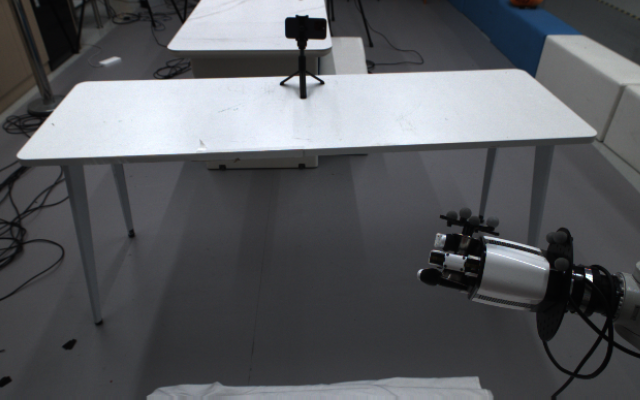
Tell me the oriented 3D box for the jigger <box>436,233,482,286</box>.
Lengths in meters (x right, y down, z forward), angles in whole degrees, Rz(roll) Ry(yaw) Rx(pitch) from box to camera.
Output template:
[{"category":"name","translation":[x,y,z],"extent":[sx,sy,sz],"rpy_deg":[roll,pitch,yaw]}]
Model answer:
[{"category":"jigger","translation":[0.203,0.085,0.701],"extent":[0.043,0.071,0.043],"rpy_deg":[19,-6,2]}]
